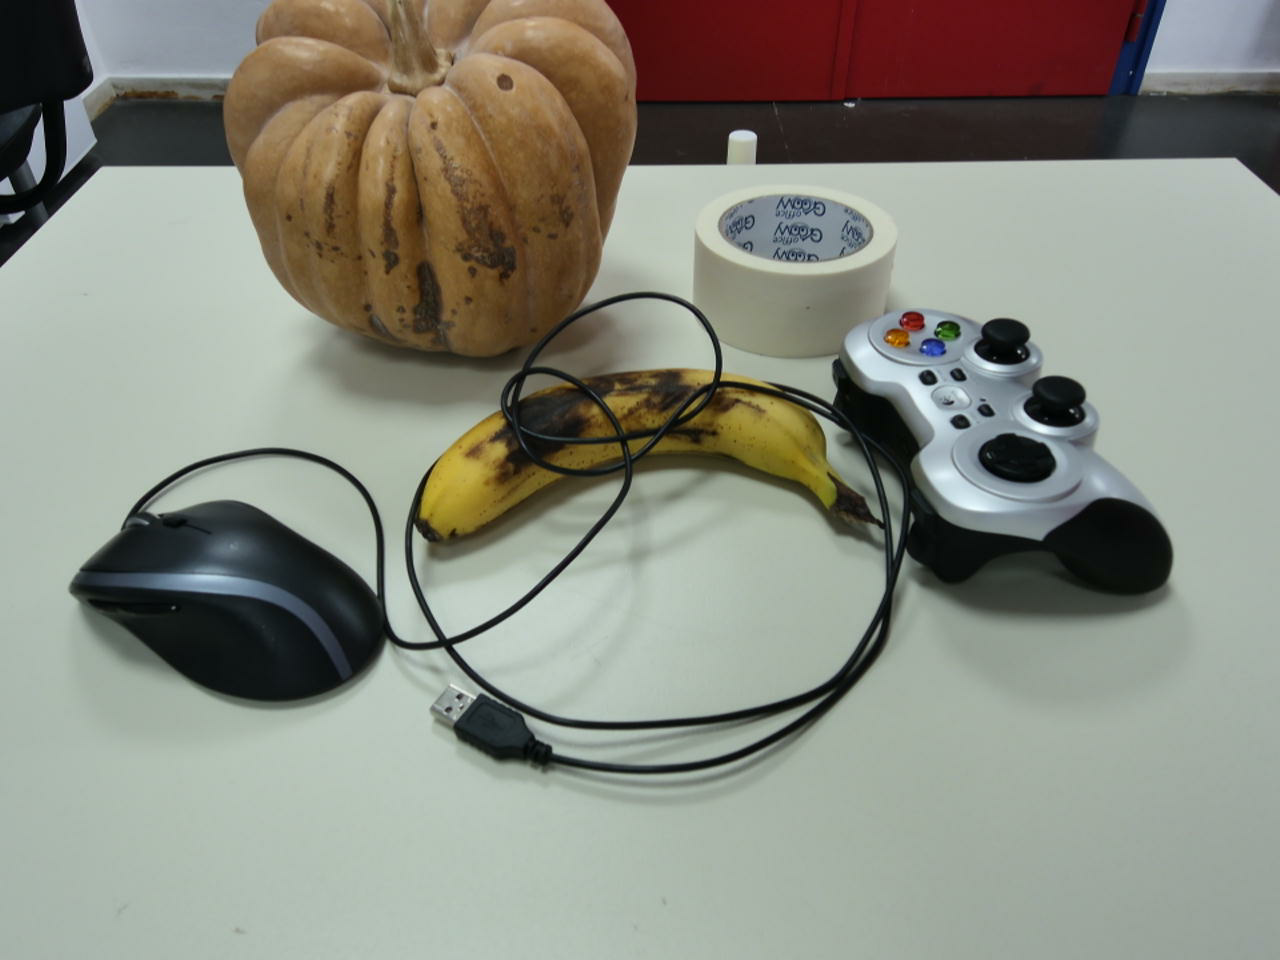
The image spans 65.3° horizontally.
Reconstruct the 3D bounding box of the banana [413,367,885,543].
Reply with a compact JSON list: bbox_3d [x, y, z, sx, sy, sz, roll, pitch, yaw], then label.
[{"bbox_3d":[0.001,-0.014,0.431,0.187,0.039,0.094,-1,39,-2],"label":"banana"}]
